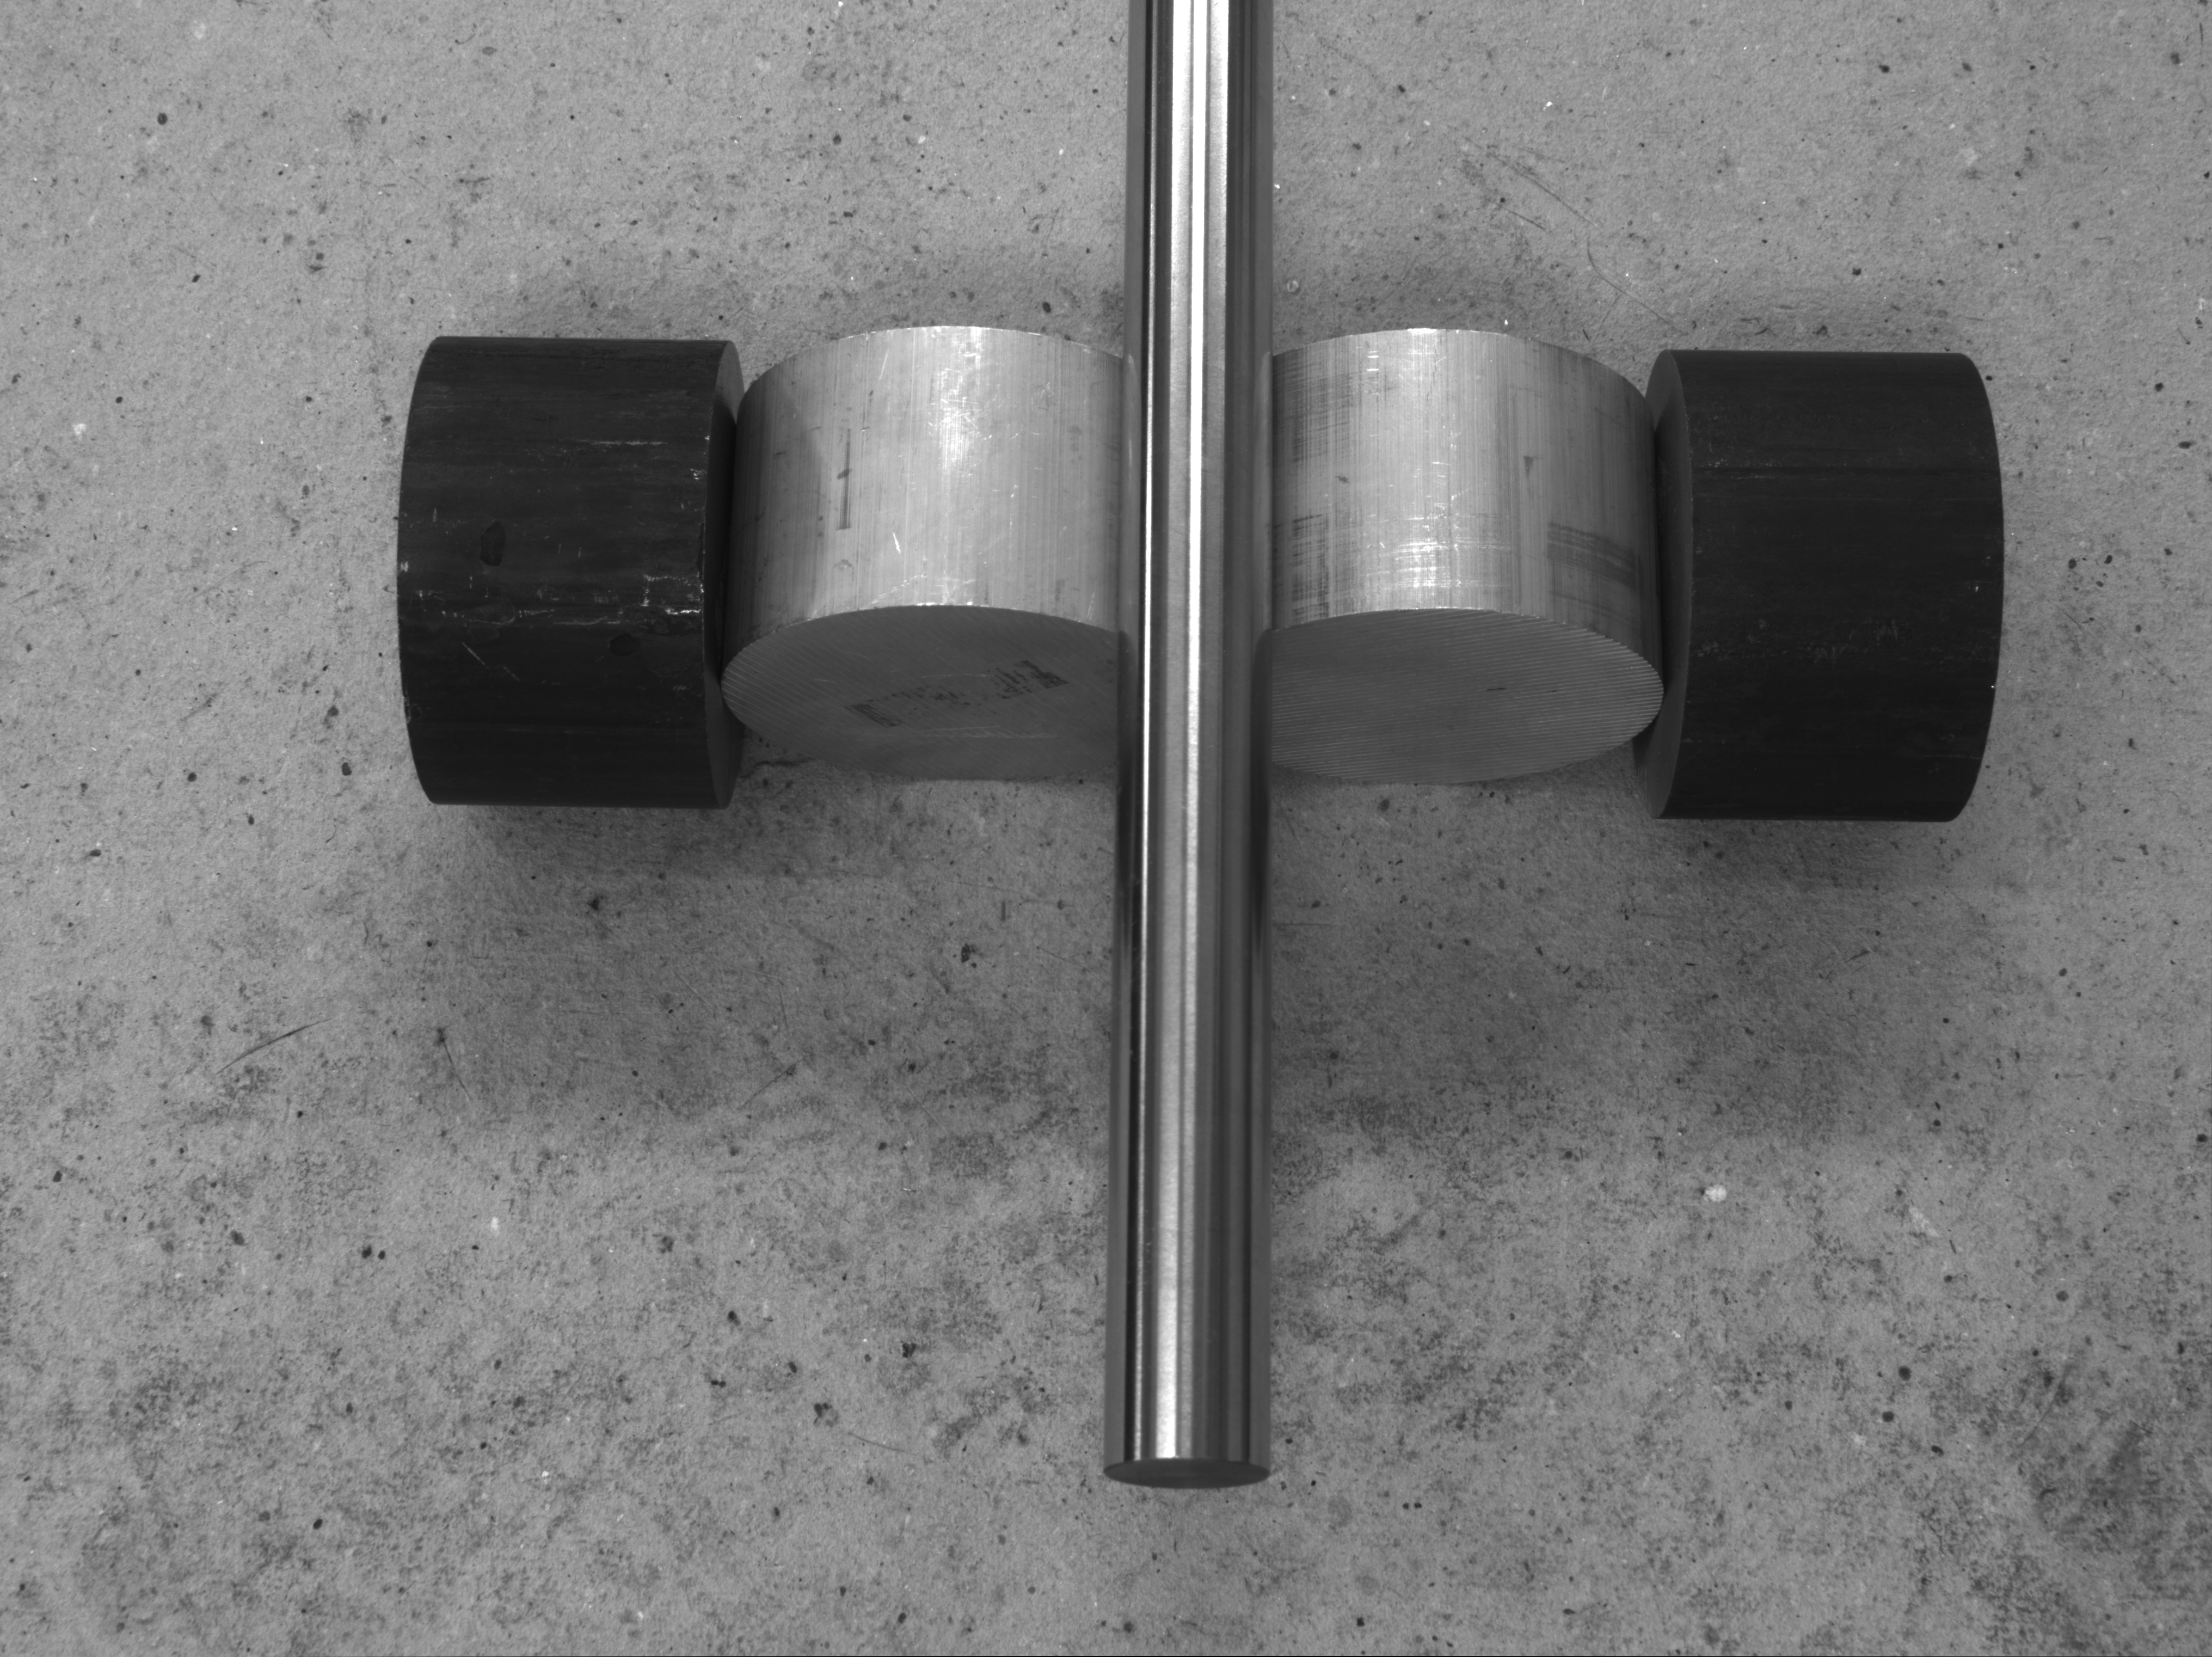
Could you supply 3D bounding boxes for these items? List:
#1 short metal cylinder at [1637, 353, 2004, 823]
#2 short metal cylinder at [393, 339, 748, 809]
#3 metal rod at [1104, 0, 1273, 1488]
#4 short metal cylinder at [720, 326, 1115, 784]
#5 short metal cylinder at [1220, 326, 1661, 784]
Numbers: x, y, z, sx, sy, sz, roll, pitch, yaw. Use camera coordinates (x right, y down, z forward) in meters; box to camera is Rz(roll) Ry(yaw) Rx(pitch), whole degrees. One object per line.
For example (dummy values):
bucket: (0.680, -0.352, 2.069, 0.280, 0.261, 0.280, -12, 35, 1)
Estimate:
short metal cylinder: (0.120, -0.041, 0.632, 0.050, 0.080, 0.080, 1, 70, 1)
short metal cylinder: (-0.090, -0.044, 0.633, 0.050, 0.080, 0.080, 1, 70, 1)
metal rod: (0.015, -0.045, 0.597, 0.025, 0.025, 0.300, 1, 70, 1)
short metal cylinder: (-0.025, -0.045, 0.633, 0.080, 0.080, 0.050, 1, 70, 1)
short metal cylinder: (0.054, -0.045, 0.633, 0.080, 0.080, 0.050, 1, 70, 1)
